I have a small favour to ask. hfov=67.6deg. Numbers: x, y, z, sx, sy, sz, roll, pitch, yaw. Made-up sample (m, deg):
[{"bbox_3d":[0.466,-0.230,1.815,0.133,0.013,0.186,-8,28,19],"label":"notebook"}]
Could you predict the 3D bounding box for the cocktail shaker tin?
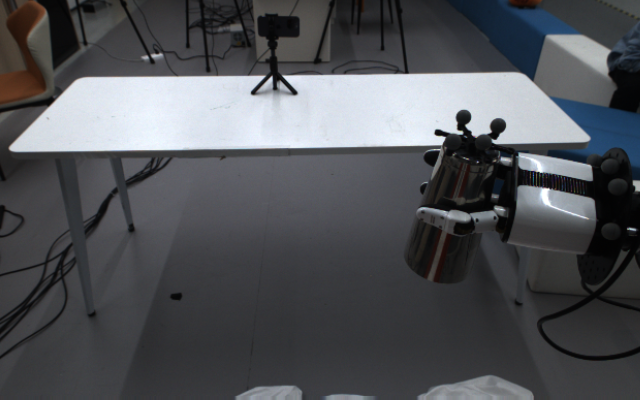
[{"bbox_3d":[0.167,0.009,0.598,0.093,0.170,0.093,4,36,-3],"label":"cocktail shaker tin"}]
